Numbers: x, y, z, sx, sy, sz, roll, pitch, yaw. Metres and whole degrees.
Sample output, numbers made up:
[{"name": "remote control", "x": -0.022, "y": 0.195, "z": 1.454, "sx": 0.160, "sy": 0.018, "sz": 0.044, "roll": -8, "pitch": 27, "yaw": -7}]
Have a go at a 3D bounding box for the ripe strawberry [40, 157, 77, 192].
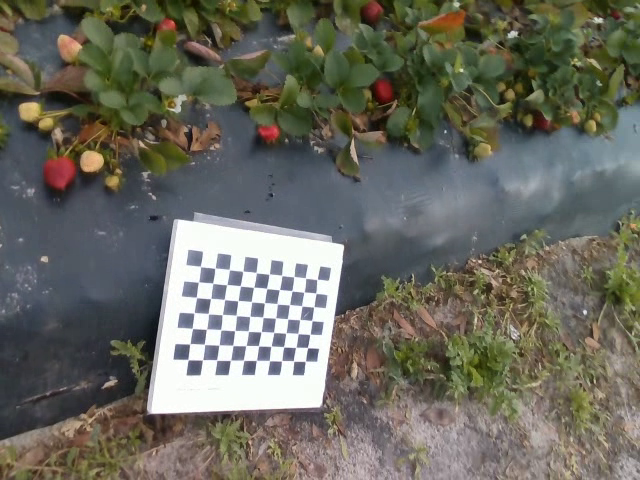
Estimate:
[{"name": "ripe strawberry", "x": -0.343, "y": -0.086, "z": 0.729, "sx": 0.050, "sy": 0.059, "sz": 0.034, "roll": -5, "pitch": -42, "yaw": -29}]
